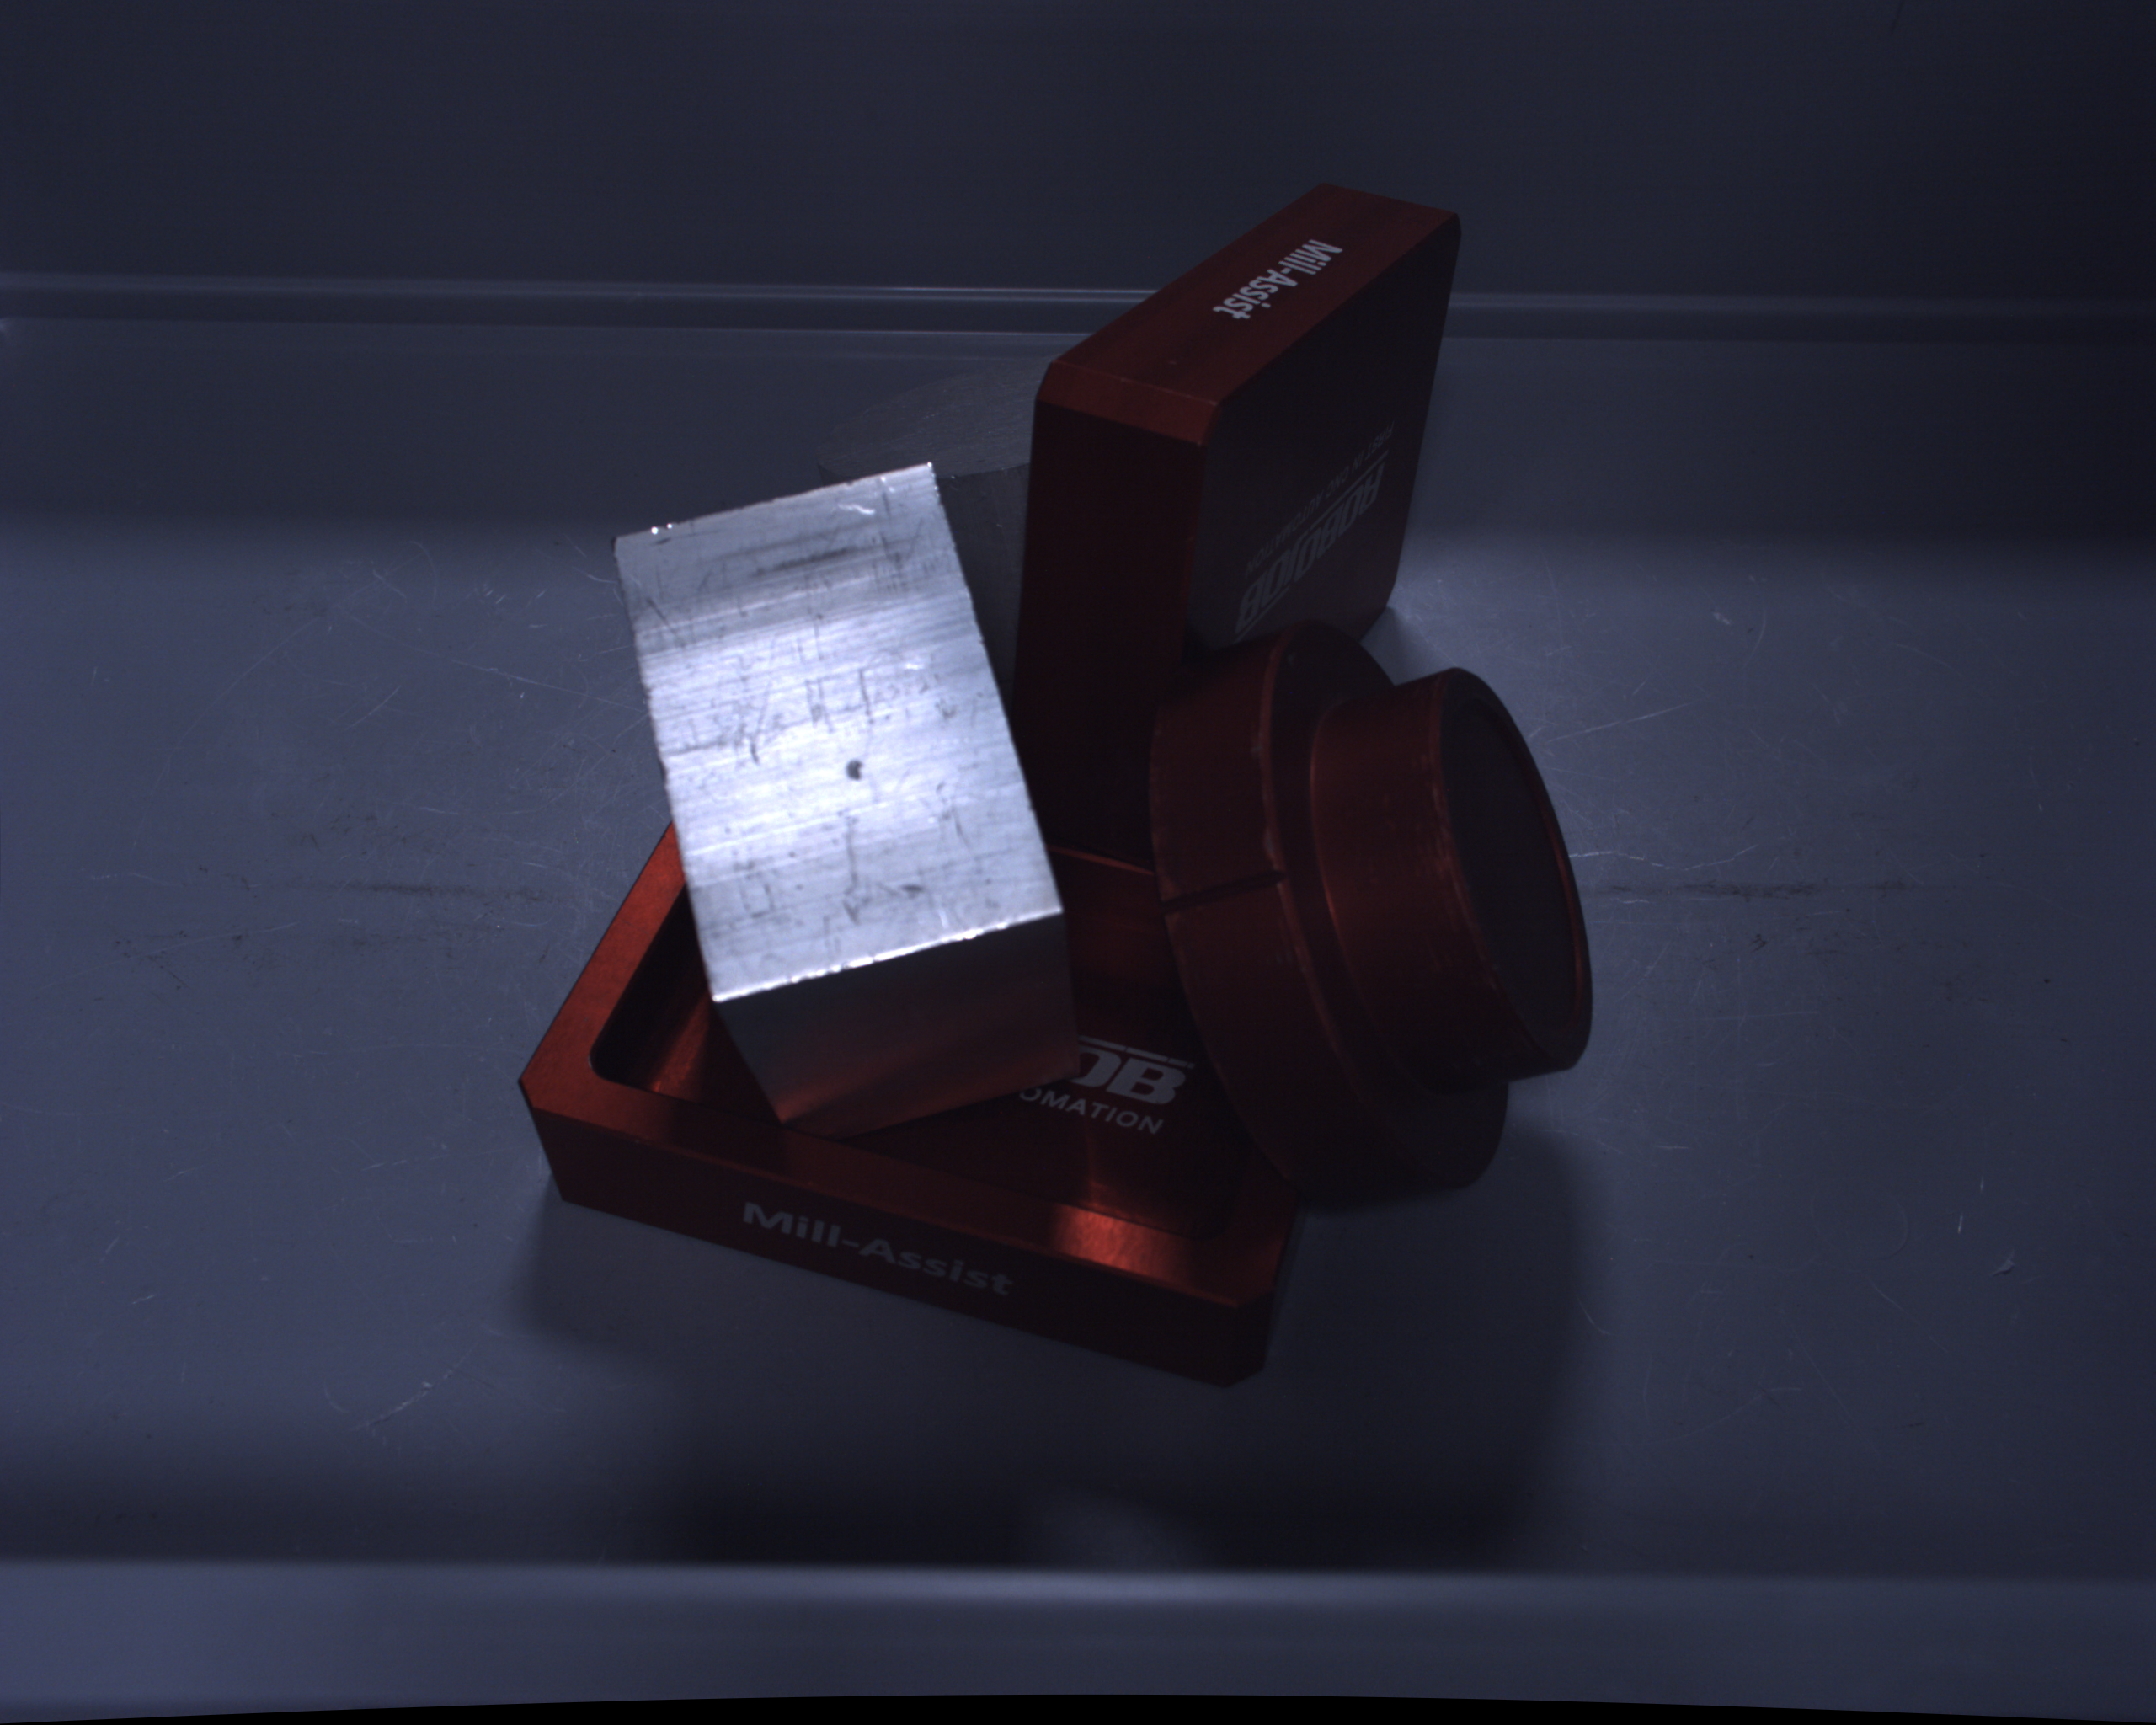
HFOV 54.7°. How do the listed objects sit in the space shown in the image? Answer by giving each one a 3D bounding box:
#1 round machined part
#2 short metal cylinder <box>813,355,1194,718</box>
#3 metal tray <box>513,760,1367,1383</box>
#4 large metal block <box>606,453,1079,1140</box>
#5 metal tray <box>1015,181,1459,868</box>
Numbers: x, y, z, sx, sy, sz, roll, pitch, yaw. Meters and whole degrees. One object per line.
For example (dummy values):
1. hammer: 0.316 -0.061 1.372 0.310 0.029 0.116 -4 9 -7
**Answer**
1. round machined part: 0.054 0.006 0.347 0.042 0.098 0.098 -17 45 26
2. short metal cylinder: -0.008 -0.068 0.425 0.080 0.050 0.080 -10 27 5
3. metal tray: -0.020 0.031 0.373 0.131 0.030 0.090 13 51 11
4. large metal block: -0.036 -0.006 0.342 0.050 0.080 0.080 -15 68 -5
5. metal tray: 0.032 -0.069 0.399 0.030 0.089 0.131 19 37 19
